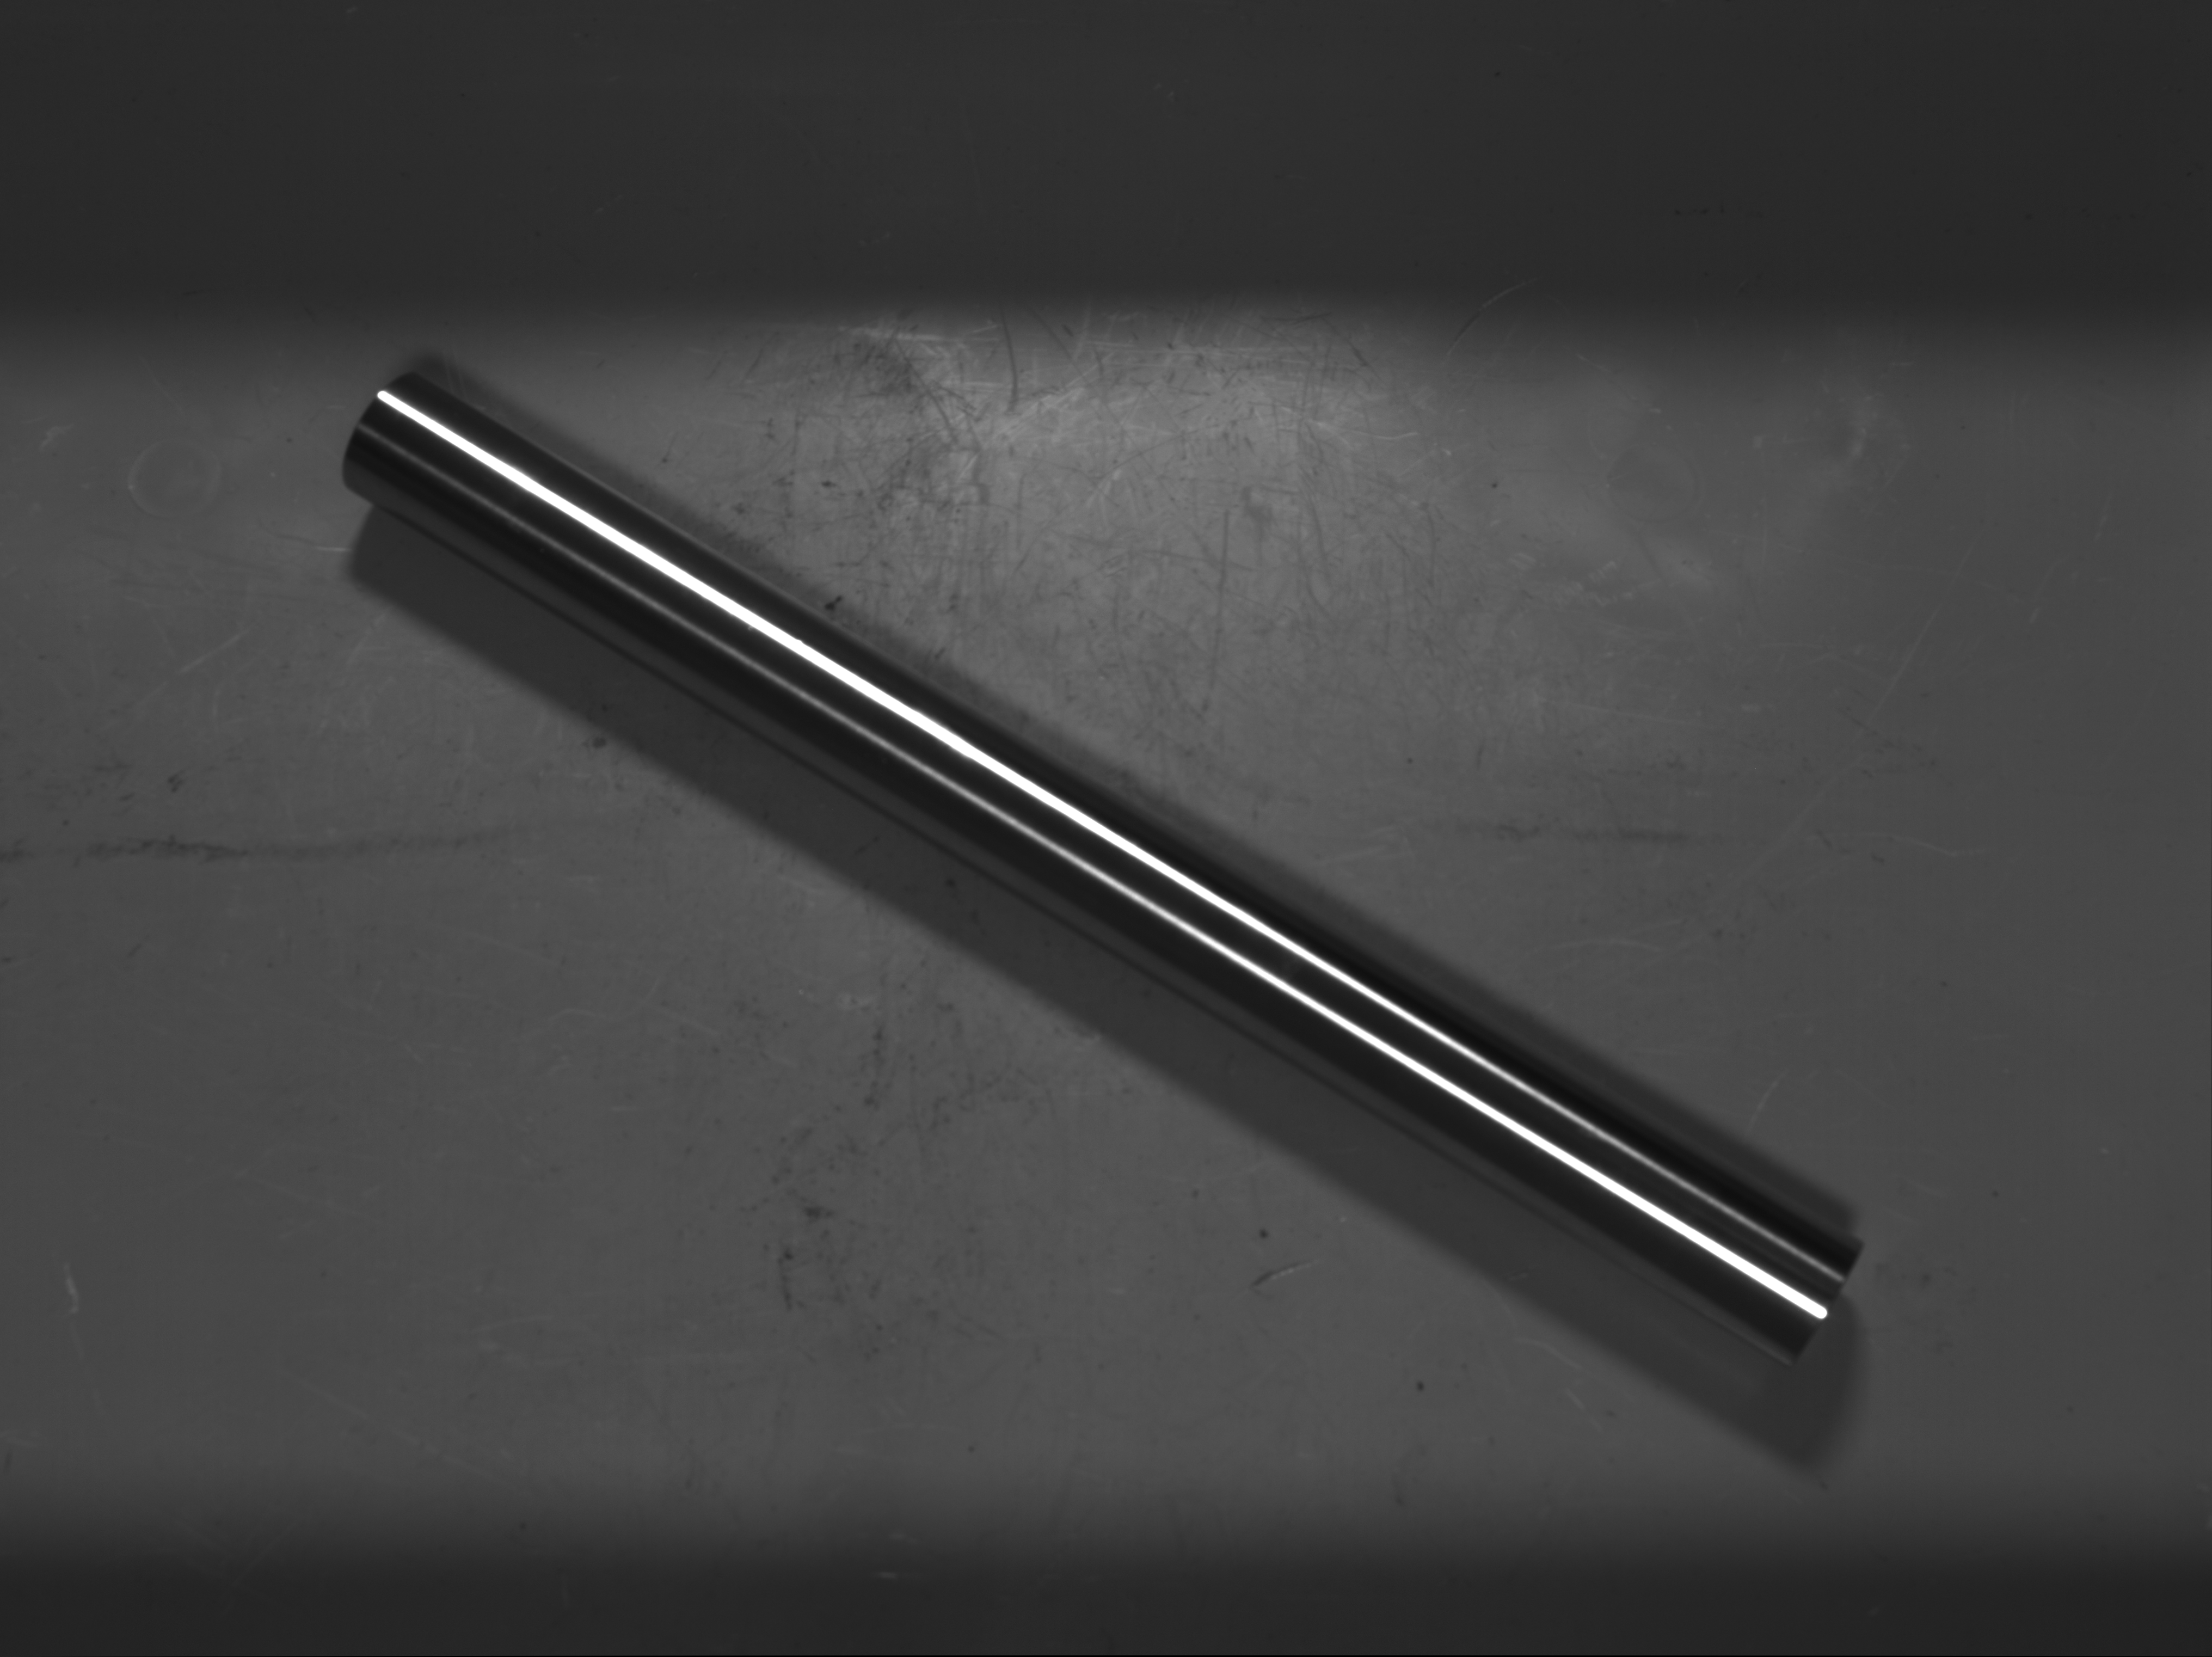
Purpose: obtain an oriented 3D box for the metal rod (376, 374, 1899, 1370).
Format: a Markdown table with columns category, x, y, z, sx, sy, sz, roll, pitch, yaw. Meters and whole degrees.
| category | x | y | z | sx | sy | sz | roll | pitch | yaw |
| --- | --- | --- | --- | --- | --- | --- | --- | --- | --- |
| metal rod | 0.000 | 0.004 | 0.641 | 0.300 | 0.025 | 0.025 | 31 | 73 | 11 |
